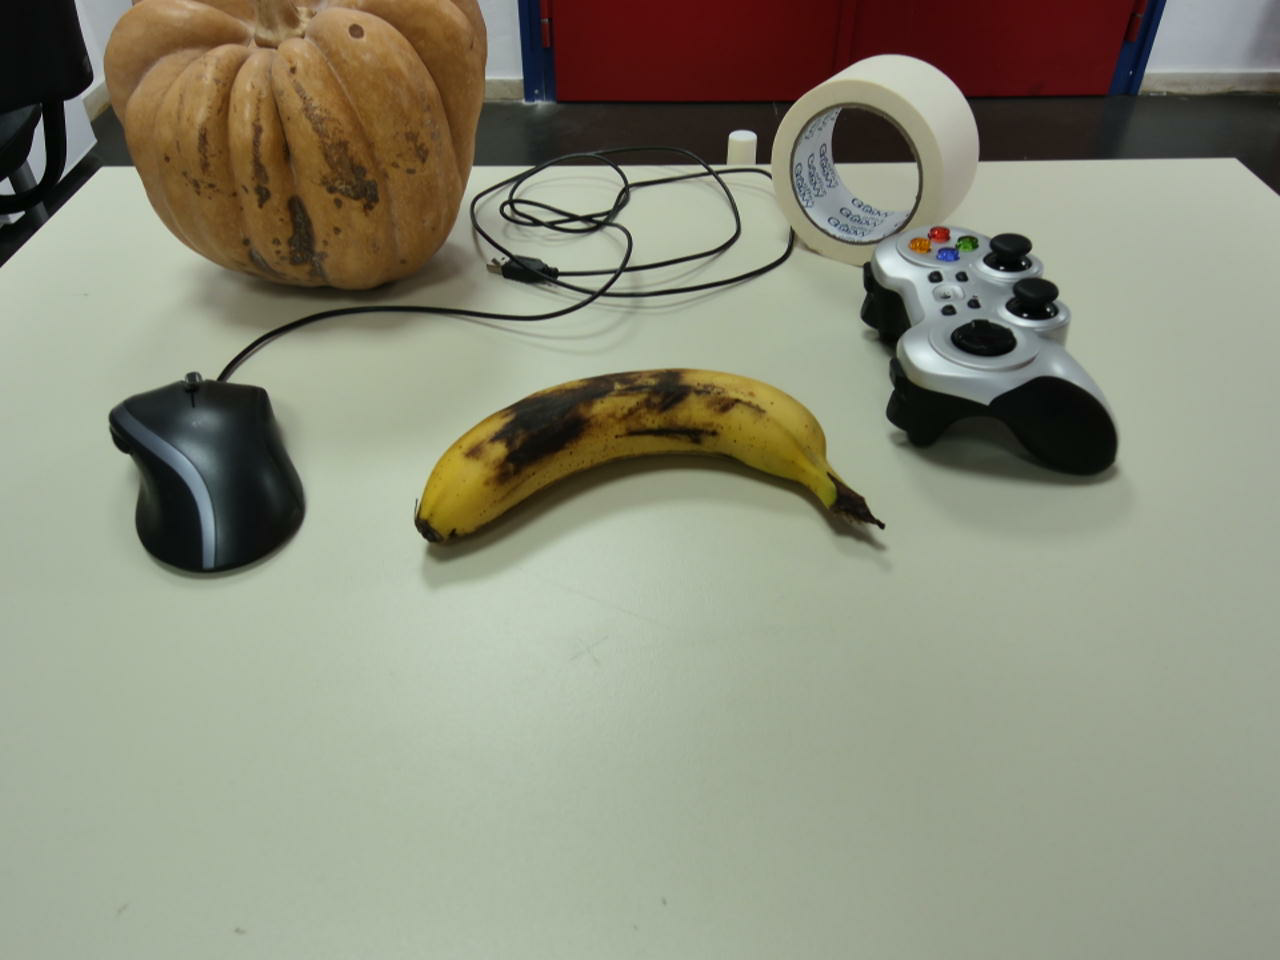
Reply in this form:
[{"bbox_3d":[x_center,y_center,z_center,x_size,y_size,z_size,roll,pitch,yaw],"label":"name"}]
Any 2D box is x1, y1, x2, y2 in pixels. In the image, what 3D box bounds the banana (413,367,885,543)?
[{"bbox_3d":[0.001,-0.014,0.431,0.187,0.039,0.094,-1,39,-2],"label":"banana"}]
